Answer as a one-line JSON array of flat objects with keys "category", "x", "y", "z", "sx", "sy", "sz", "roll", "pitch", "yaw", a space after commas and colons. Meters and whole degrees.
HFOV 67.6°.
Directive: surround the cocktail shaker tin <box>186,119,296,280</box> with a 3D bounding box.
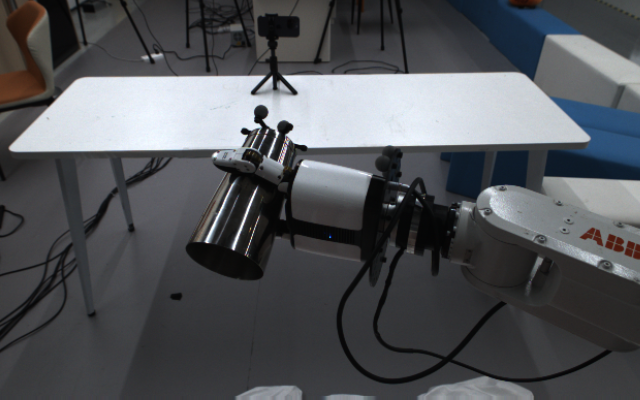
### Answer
[{"category": "cocktail shaker tin", "x": -0.083, "y": 0.000, "z": 0.577, "sx": 0.093, "sy": 0.093, "sz": 0.170, "roll": 11, "pitch": 60, "yaw": 12}]
